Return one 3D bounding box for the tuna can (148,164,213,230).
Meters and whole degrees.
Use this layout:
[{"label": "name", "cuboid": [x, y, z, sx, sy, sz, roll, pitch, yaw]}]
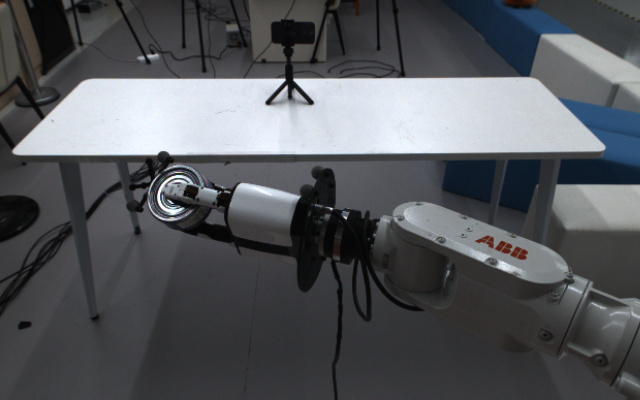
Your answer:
[{"label": "tuna can", "cuboid": [-0.188, -0.005, 0.659, 0.085, 0.034, 0.085, -3, 71, 10]}]
